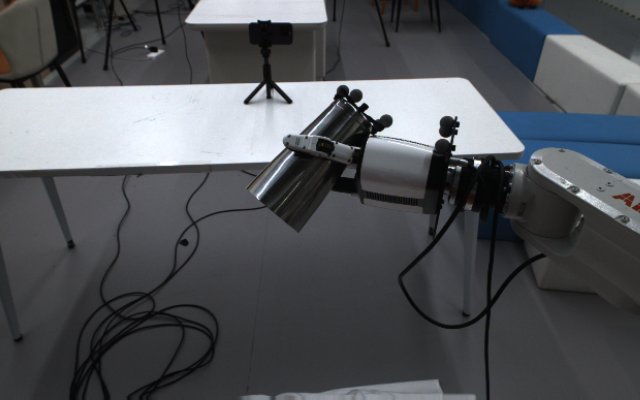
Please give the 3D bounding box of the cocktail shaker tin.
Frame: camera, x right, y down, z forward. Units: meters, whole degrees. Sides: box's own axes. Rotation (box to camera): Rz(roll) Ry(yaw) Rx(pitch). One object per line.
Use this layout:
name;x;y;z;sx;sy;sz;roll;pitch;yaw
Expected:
cocktail shaker tin;-0.008;-0.054;0.648;0.170;0.093;0.093;-48;49;-4
